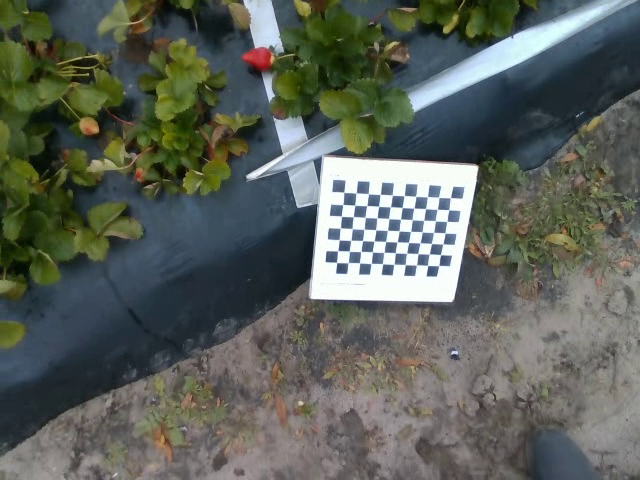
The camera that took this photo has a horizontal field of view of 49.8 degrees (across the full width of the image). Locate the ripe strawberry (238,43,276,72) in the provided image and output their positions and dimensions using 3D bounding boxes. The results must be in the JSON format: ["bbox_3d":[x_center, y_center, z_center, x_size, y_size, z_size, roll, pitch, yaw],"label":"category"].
[{"bbox_3d":[-0.101,-0.288,1.078,0.051,0.042,0.038,-2,24,-12],"label":"ripe strawberry"}]
